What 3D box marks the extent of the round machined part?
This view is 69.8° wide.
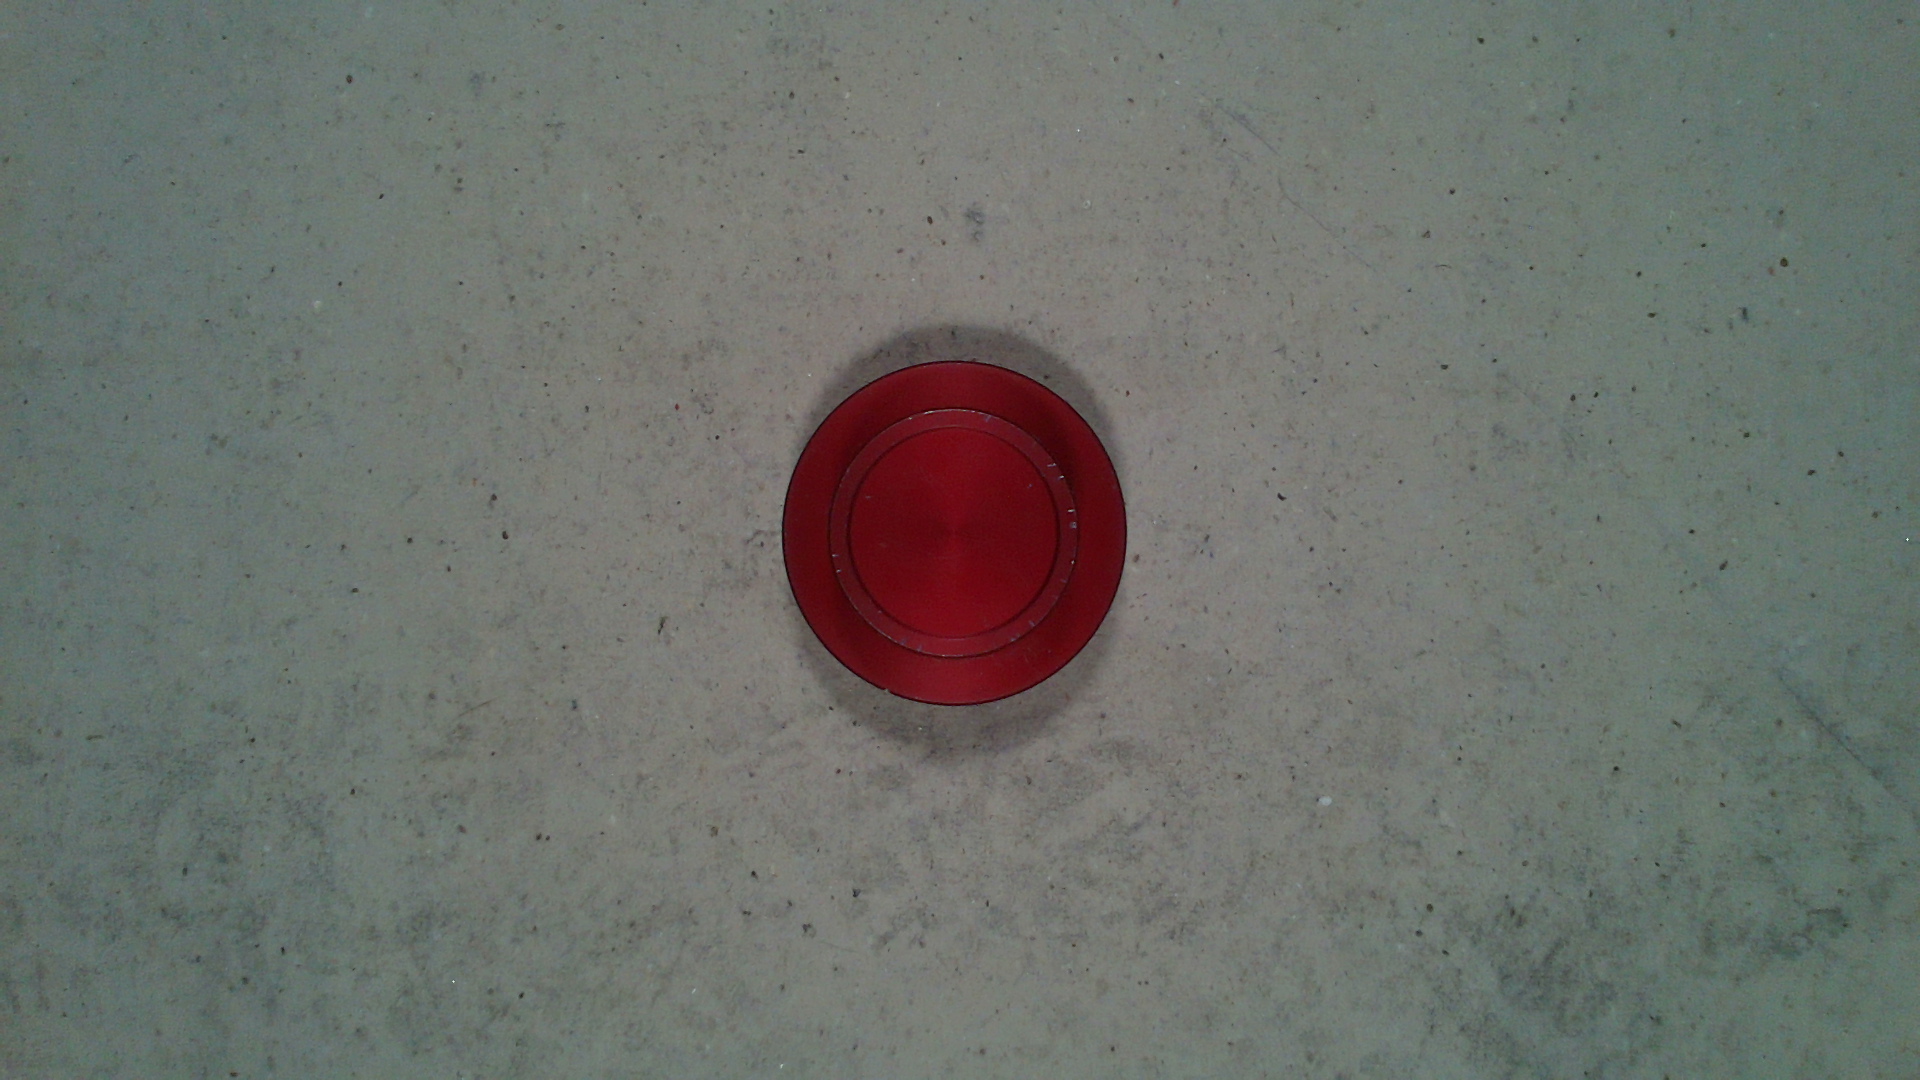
[{"bbox_3d":[-0.002,-0.002,0.386,0.098,0.042,0.098,0,90,0],"label":"round machined part"}]
